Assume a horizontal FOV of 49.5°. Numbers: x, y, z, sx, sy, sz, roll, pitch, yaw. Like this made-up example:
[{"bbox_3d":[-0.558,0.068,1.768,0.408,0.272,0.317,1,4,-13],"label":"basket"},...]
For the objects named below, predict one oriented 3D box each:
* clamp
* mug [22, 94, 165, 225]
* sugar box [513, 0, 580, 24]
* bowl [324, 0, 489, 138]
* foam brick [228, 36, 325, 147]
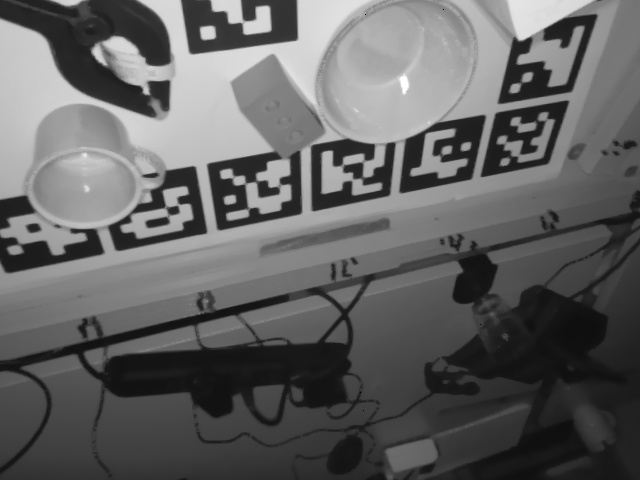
[{"bbox_3d":[-0.171,-0.181,0.544,0.165,0.037,0.203,-29,136,4],"label":"clamp"},{"bbox_3d":[-0.197,-0.072,0.614,0.118,0.082,0.092,11,128,-27],"label":"mug"},{"bbox_3d":[0.162,-0.242,0.531,0.092,0.177,0.045,-27,135,8],"label":"sugar box"},{"bbox_3d":[0.075,-0.176,0.649,0.163,0.055,0.160,-12,136,-11],"label":"bowl"},{"bbox_3d":[-0.039,-0.139,0.648,0.052,0.051,0.078,-31,136,8],"label":"foam brick"}]
